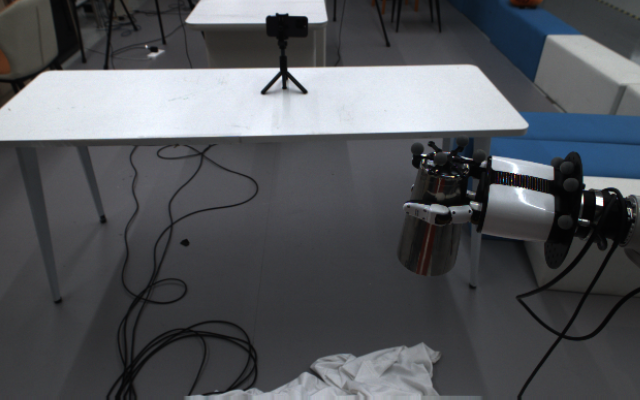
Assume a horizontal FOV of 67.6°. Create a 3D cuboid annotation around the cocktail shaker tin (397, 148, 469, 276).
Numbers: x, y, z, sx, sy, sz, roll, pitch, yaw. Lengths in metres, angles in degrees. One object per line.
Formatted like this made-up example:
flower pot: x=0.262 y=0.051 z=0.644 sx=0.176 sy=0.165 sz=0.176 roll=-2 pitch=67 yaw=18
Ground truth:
cocktail shaker tin: x=0.171 y=0.014 z=0.706 sx=0.093 sy=0.170 sz=0.093 roll=1 pitch=39 yaw=-1
